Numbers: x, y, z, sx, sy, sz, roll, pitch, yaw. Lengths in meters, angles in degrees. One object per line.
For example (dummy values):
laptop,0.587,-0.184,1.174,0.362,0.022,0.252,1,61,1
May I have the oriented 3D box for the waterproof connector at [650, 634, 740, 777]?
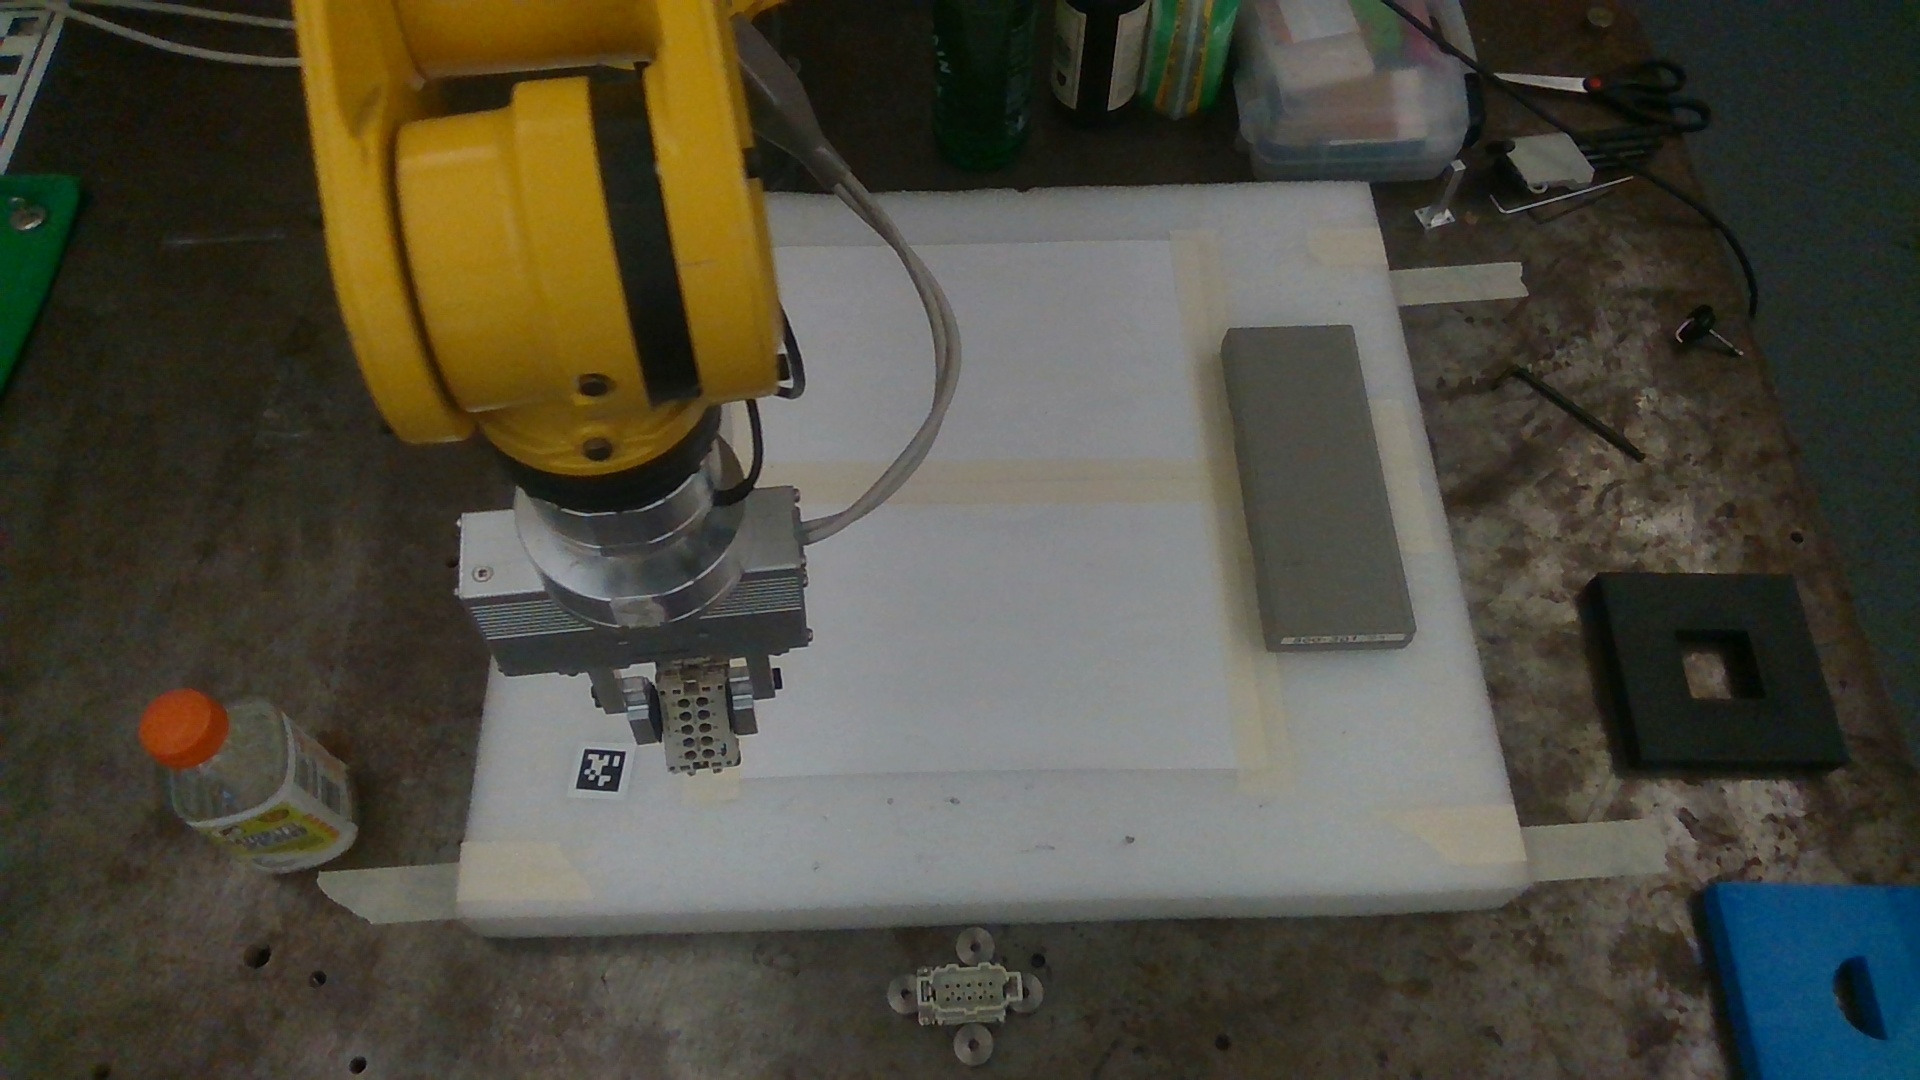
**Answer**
waterproof connector,-0.126,0.080,0.661,0.036,0.069,0.039,-5,19,-7
